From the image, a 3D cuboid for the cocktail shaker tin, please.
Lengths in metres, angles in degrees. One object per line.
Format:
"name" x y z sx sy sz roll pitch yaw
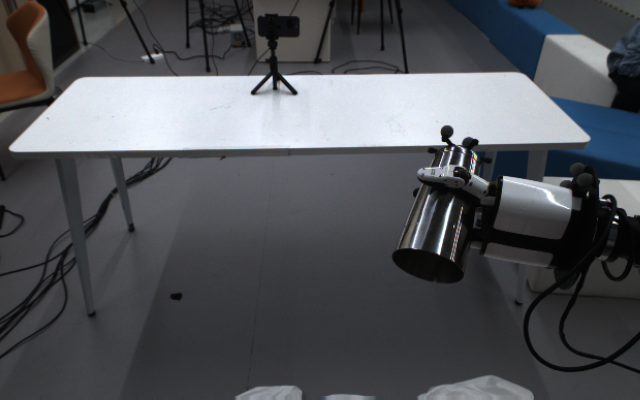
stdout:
"cocktail shaker tin" 0.164 0.013 0.641 0.093 0.093 0.170 15 63 18
